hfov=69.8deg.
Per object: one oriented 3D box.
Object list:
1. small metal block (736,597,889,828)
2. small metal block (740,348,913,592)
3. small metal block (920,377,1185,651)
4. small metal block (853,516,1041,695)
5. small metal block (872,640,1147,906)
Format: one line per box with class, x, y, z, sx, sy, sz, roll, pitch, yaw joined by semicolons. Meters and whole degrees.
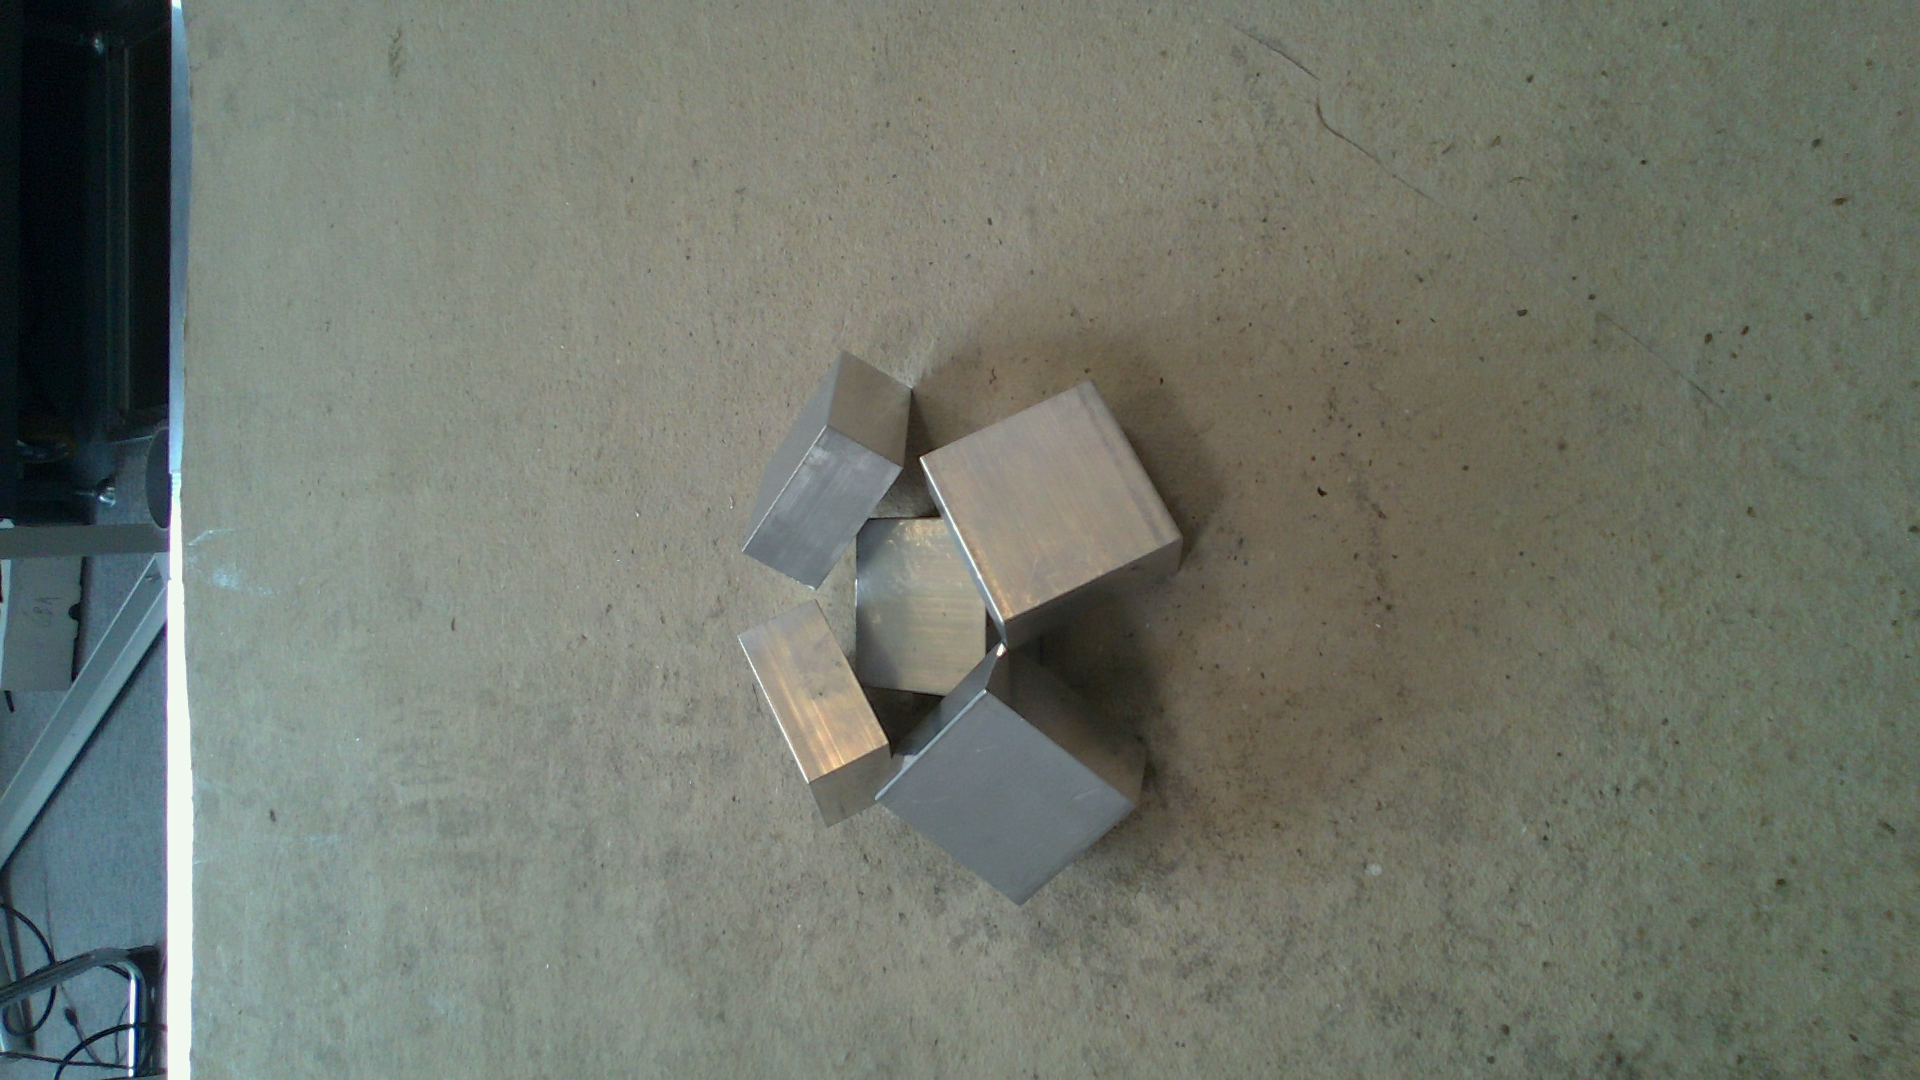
small metal block;-0.042;0.053;0.413;0.050;0.025;0.050;60;168;23
small metal block;-0.039;-0.021;0.412;0.050;0.025;0.050;-52;18;27
small metal block;0.024;-0.007;0.359;0.050;0.025;0.050;-25;70;-5
small metal block;-0.004;0.018;0.399;0.050;0.025;0.050;-1;90;39
small metal block;0.014;0.062;0.368;0.050;0.025;0.050;37;120;-8
